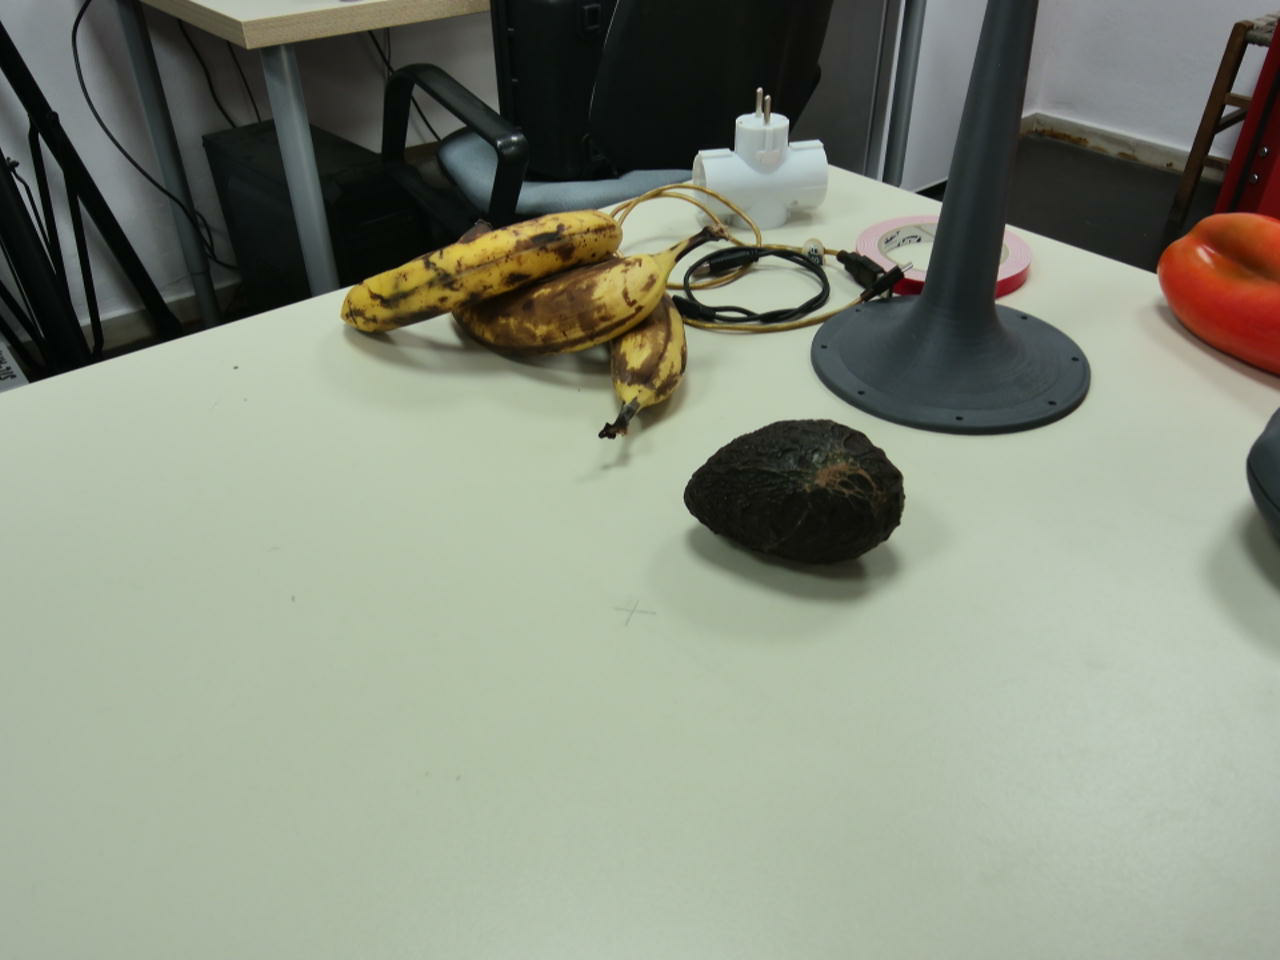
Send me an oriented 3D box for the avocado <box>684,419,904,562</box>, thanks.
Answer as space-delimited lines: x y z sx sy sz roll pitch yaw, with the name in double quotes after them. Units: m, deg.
0.067 0.003 0.432 0.092 0.062 0.062 18 39 23 "avocado"
